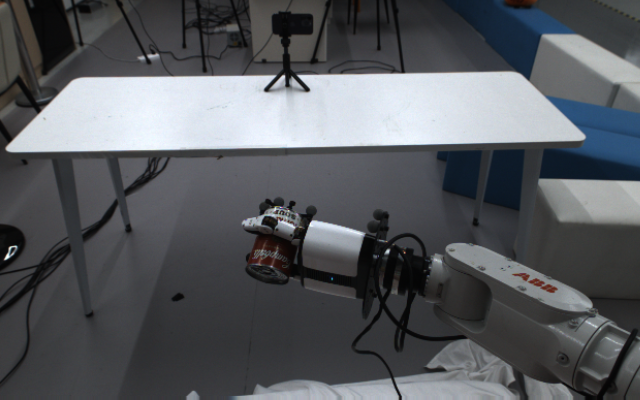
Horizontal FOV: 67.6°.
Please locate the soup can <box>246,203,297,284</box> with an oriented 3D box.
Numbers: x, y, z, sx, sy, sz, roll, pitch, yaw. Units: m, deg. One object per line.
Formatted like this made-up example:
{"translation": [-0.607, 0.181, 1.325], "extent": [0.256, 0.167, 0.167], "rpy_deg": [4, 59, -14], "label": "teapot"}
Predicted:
{"translation": [-0.066, 0.069, 0.733], "extent": [0.067, 0.067, 0.101], "rpy_deg": [9, 58, 10], "label": "soup can"}
